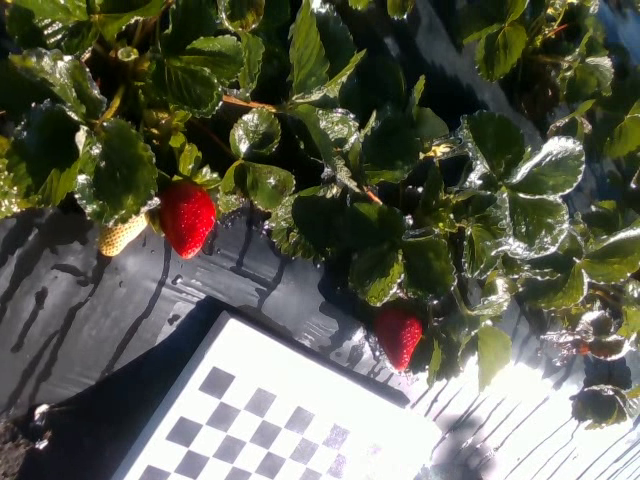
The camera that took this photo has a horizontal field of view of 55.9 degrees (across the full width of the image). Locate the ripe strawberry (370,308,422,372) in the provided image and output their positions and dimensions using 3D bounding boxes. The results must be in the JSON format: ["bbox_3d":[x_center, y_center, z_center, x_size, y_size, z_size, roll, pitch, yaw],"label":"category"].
[{"bbox_3d":[0.074,0.094,0.545,0.049,0.061,0.044,27,-28,-31],"label":"ripe strawberry"}]

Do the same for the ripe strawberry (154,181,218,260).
[{"bbox_3d":[-0.097,-0.008,0.433,0.042,0.061,0.046,18,-33,-30],"label":"ripe strawberry"}]
